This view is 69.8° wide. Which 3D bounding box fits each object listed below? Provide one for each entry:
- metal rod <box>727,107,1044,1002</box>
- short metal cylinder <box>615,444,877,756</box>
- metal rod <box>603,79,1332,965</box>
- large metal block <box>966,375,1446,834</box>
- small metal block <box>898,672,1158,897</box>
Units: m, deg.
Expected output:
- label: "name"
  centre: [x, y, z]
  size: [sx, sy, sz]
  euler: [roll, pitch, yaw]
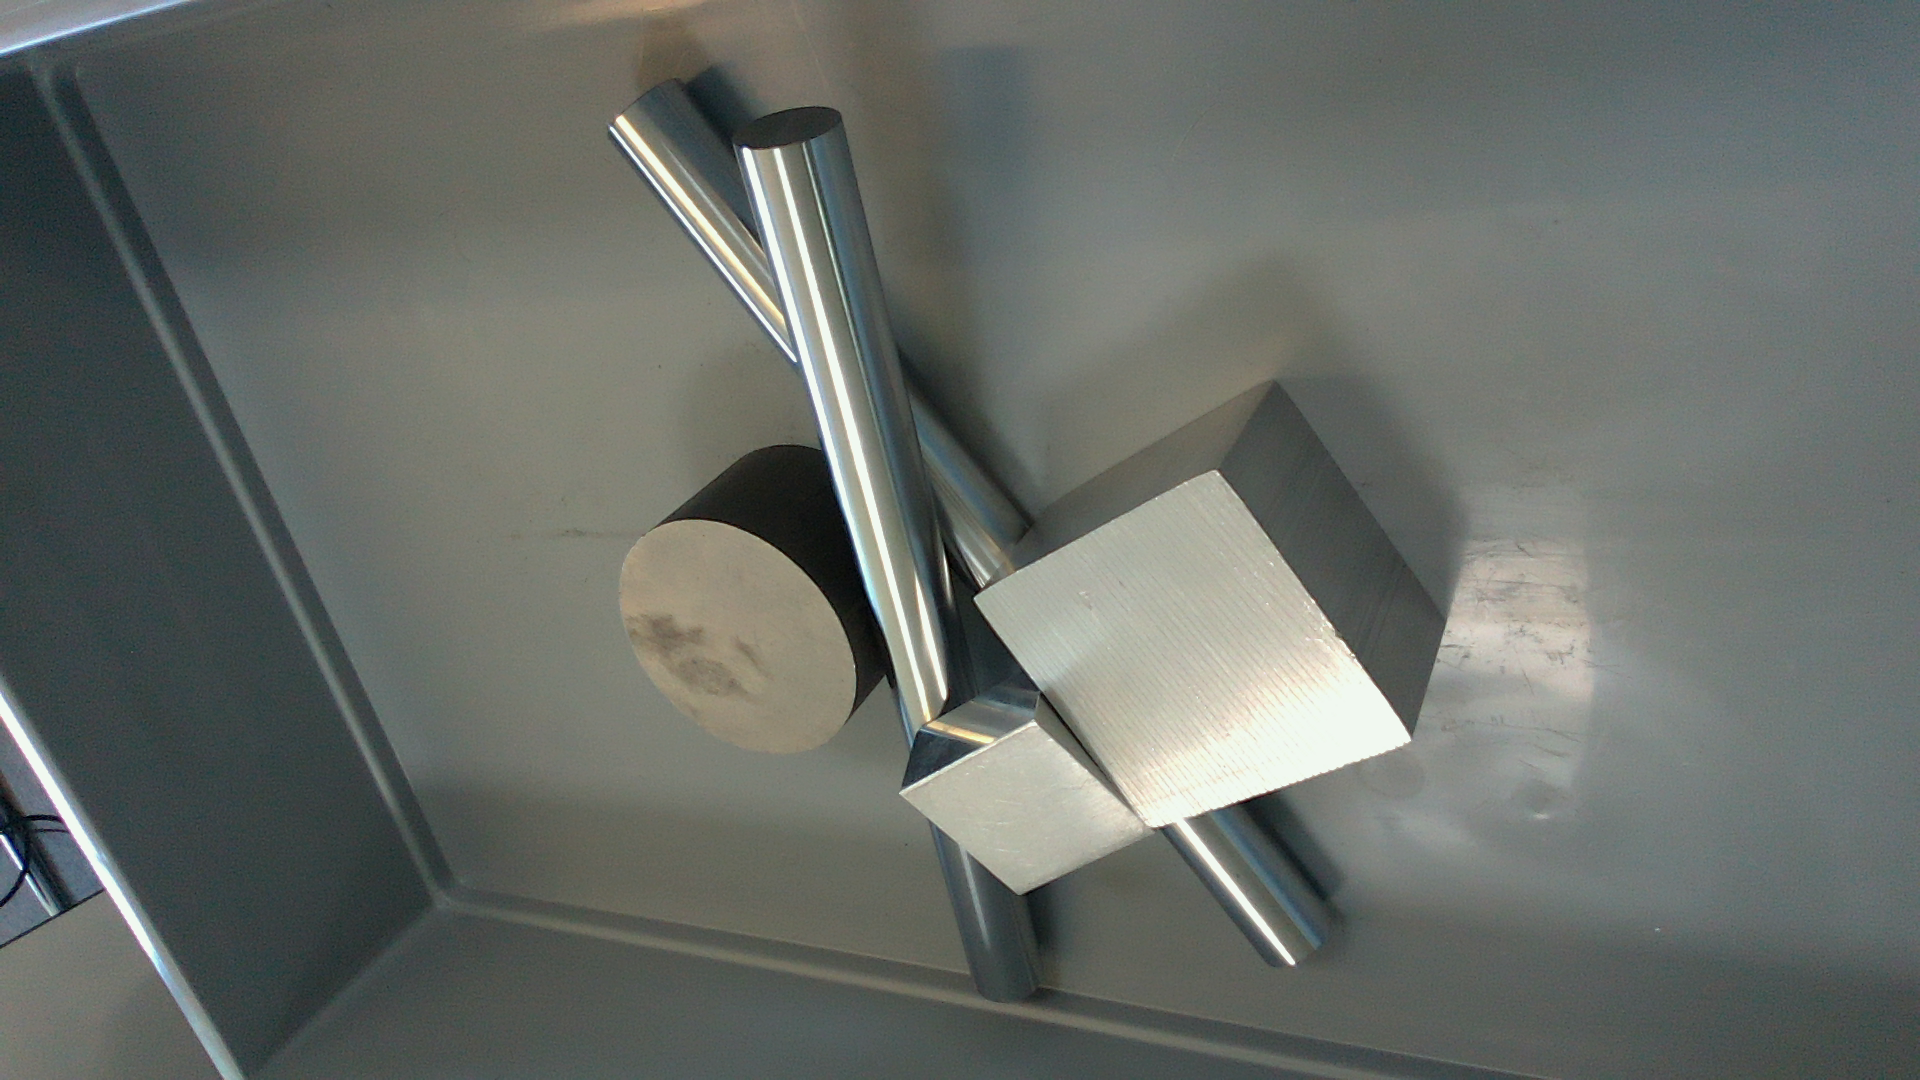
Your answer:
- label: "metal rod"
  centre: [-0.011, 0.029, 0.390]
  size: [0.025, 0.025, 0.300]
  euler: [6, 129, 25]
- label: "short metal cylinder"
  centre: [-0.056, 0.018, 0.416]
  size: [0.080, 0.050, 0.080]
  euler: [13, 124, 20]
- label: "metal rod"
  centre: [0.008, 0.002, 0.388]
  size: [0.025, 0.025, 0.300]
  euler: [-32, 101, 38]
- label: "large metal block"
  centre: [0.063, 0.018, 0.352]
  size: [0.080, 0.050, 0.080]
  euler: [-31, 101, 38]
- label: "small metal block"
  centre: [0.020, 0.066, 0.380]
  size: [0.050, 0.025, 0.050]
  euler: [-34, 115, 30]
